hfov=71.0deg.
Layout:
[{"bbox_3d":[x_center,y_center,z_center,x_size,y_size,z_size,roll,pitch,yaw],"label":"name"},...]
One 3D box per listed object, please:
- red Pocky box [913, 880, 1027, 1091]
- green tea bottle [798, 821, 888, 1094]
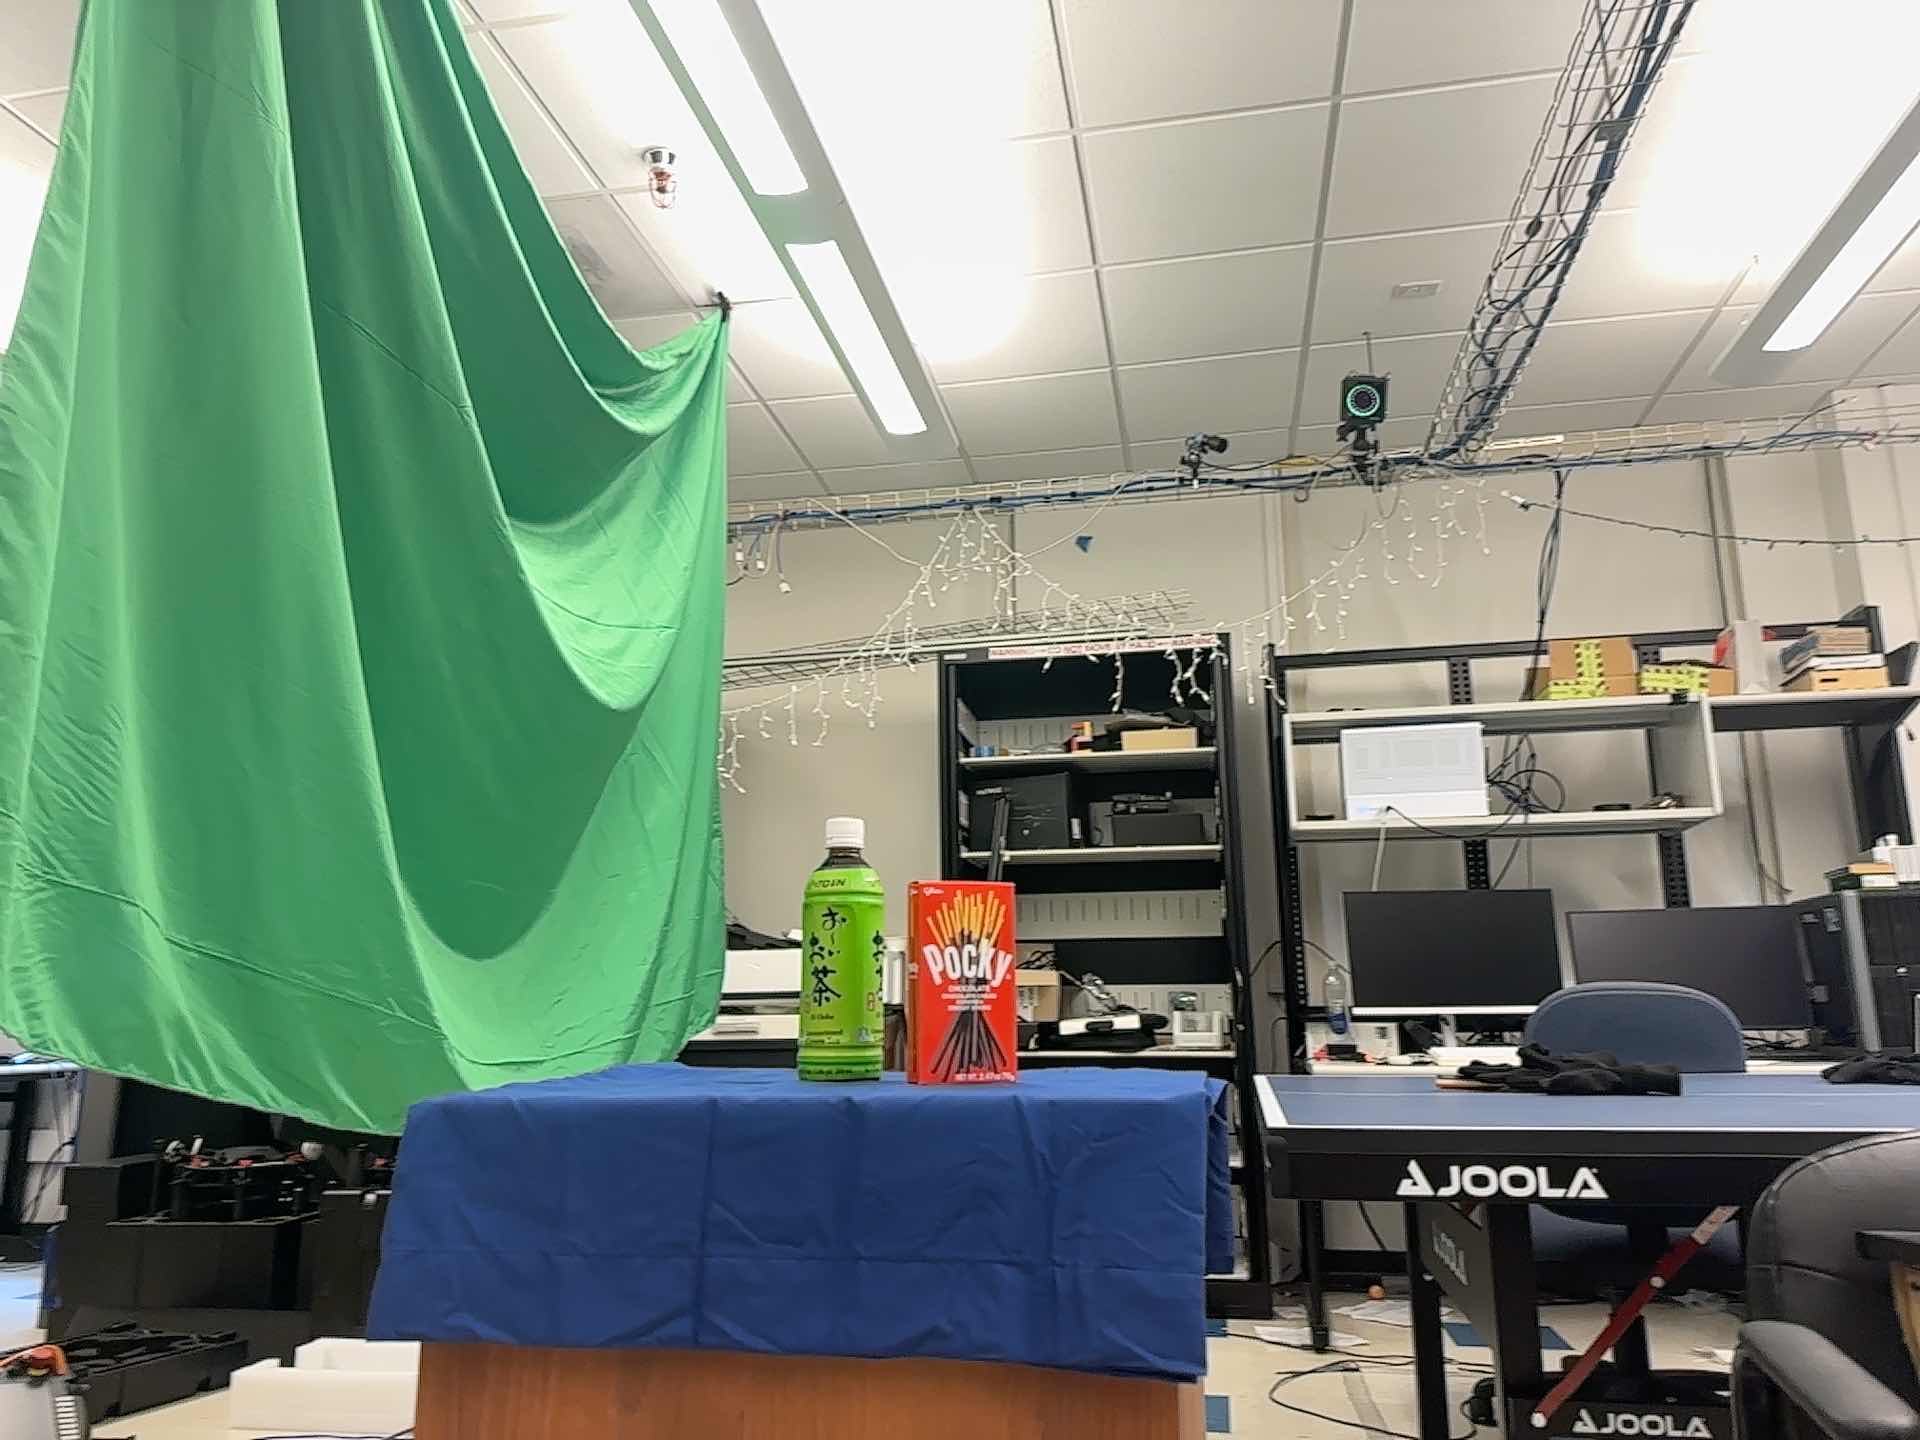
[{"bbox_3d":[0.007,0.198,1.009,0.083,0.155,0.028,3,-11,-18],"label":"red Pocky box"},{"bbox_3d":[-0.094,0.187,1.074,0.073,0.212,0.073,-2,-12,0],"label":"green tea bottle"}]
